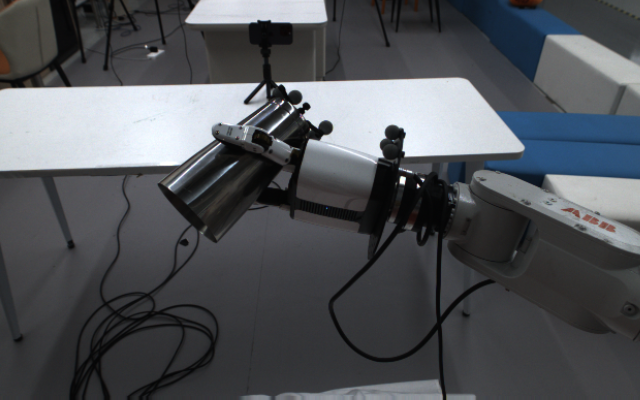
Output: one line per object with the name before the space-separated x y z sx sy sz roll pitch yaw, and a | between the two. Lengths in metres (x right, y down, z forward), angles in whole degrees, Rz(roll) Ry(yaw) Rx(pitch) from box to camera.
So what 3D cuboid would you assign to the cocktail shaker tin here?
cocktail shaker tin | -0.091 -0.047 0.563 0.093 0.093 0.170 32 66 35
